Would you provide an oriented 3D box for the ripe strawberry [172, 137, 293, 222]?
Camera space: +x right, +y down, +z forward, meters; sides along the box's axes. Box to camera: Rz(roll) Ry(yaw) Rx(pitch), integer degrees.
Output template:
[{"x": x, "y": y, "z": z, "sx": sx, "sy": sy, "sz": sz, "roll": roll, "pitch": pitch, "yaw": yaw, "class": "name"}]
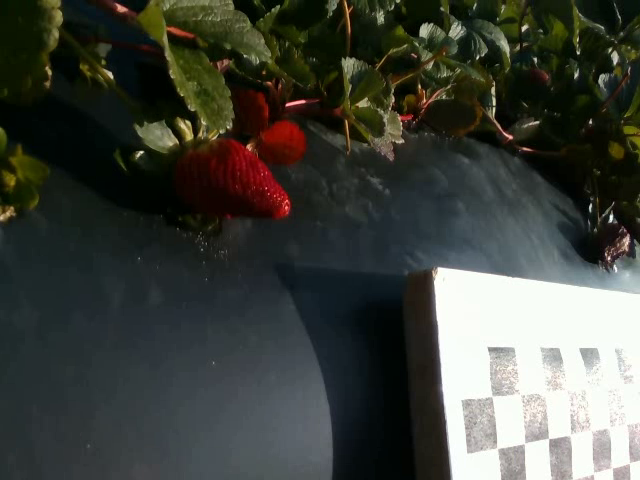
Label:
[{"x": -0.034, "y": -0.022, "z": 0.254, "sx": 0.056, "sy": 0.041, "sz": 0.041, "roll": 26, "pitch": -34, "yaw": 15, "class": "ripe strawberry"}]
